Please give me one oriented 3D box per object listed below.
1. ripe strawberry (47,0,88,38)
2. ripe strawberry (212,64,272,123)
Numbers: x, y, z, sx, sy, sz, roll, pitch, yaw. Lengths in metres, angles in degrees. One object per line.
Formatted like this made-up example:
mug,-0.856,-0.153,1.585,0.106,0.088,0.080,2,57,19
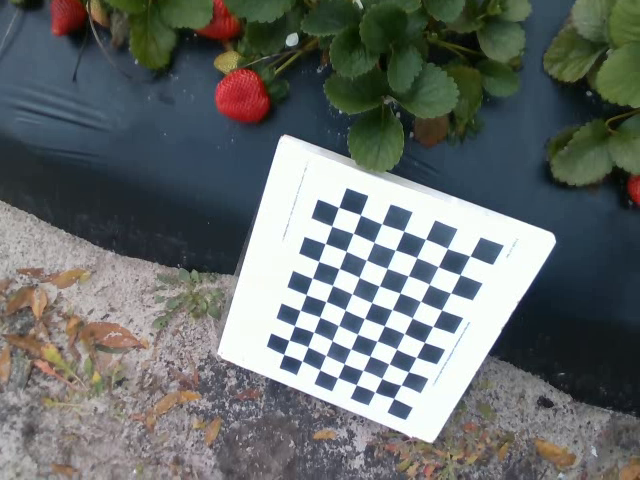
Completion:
ripe strawberry,-0.260,-0.233,0.656,0.044,0.051,0.041,7,-17,16
ripe strawberry,-0.083,-0.142,0.643,0.057,0.056,0.064,-6,28,38
